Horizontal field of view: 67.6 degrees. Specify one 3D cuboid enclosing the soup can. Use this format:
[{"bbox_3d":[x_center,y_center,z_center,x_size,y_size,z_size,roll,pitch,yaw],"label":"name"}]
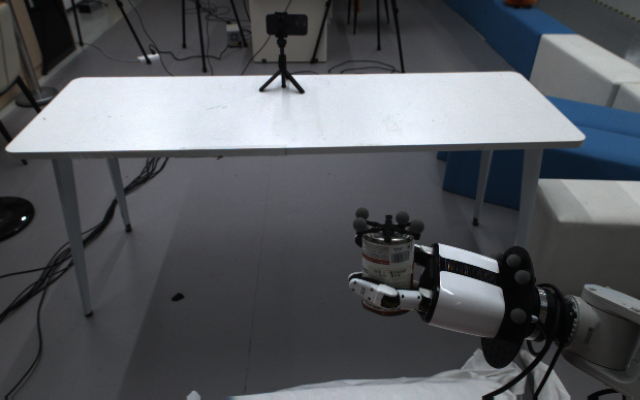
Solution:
[{"bbox_3d":[0.089,0.088,0.623,0.067,0.101,0.067,-1,17,0],"label":"soup can"}]
